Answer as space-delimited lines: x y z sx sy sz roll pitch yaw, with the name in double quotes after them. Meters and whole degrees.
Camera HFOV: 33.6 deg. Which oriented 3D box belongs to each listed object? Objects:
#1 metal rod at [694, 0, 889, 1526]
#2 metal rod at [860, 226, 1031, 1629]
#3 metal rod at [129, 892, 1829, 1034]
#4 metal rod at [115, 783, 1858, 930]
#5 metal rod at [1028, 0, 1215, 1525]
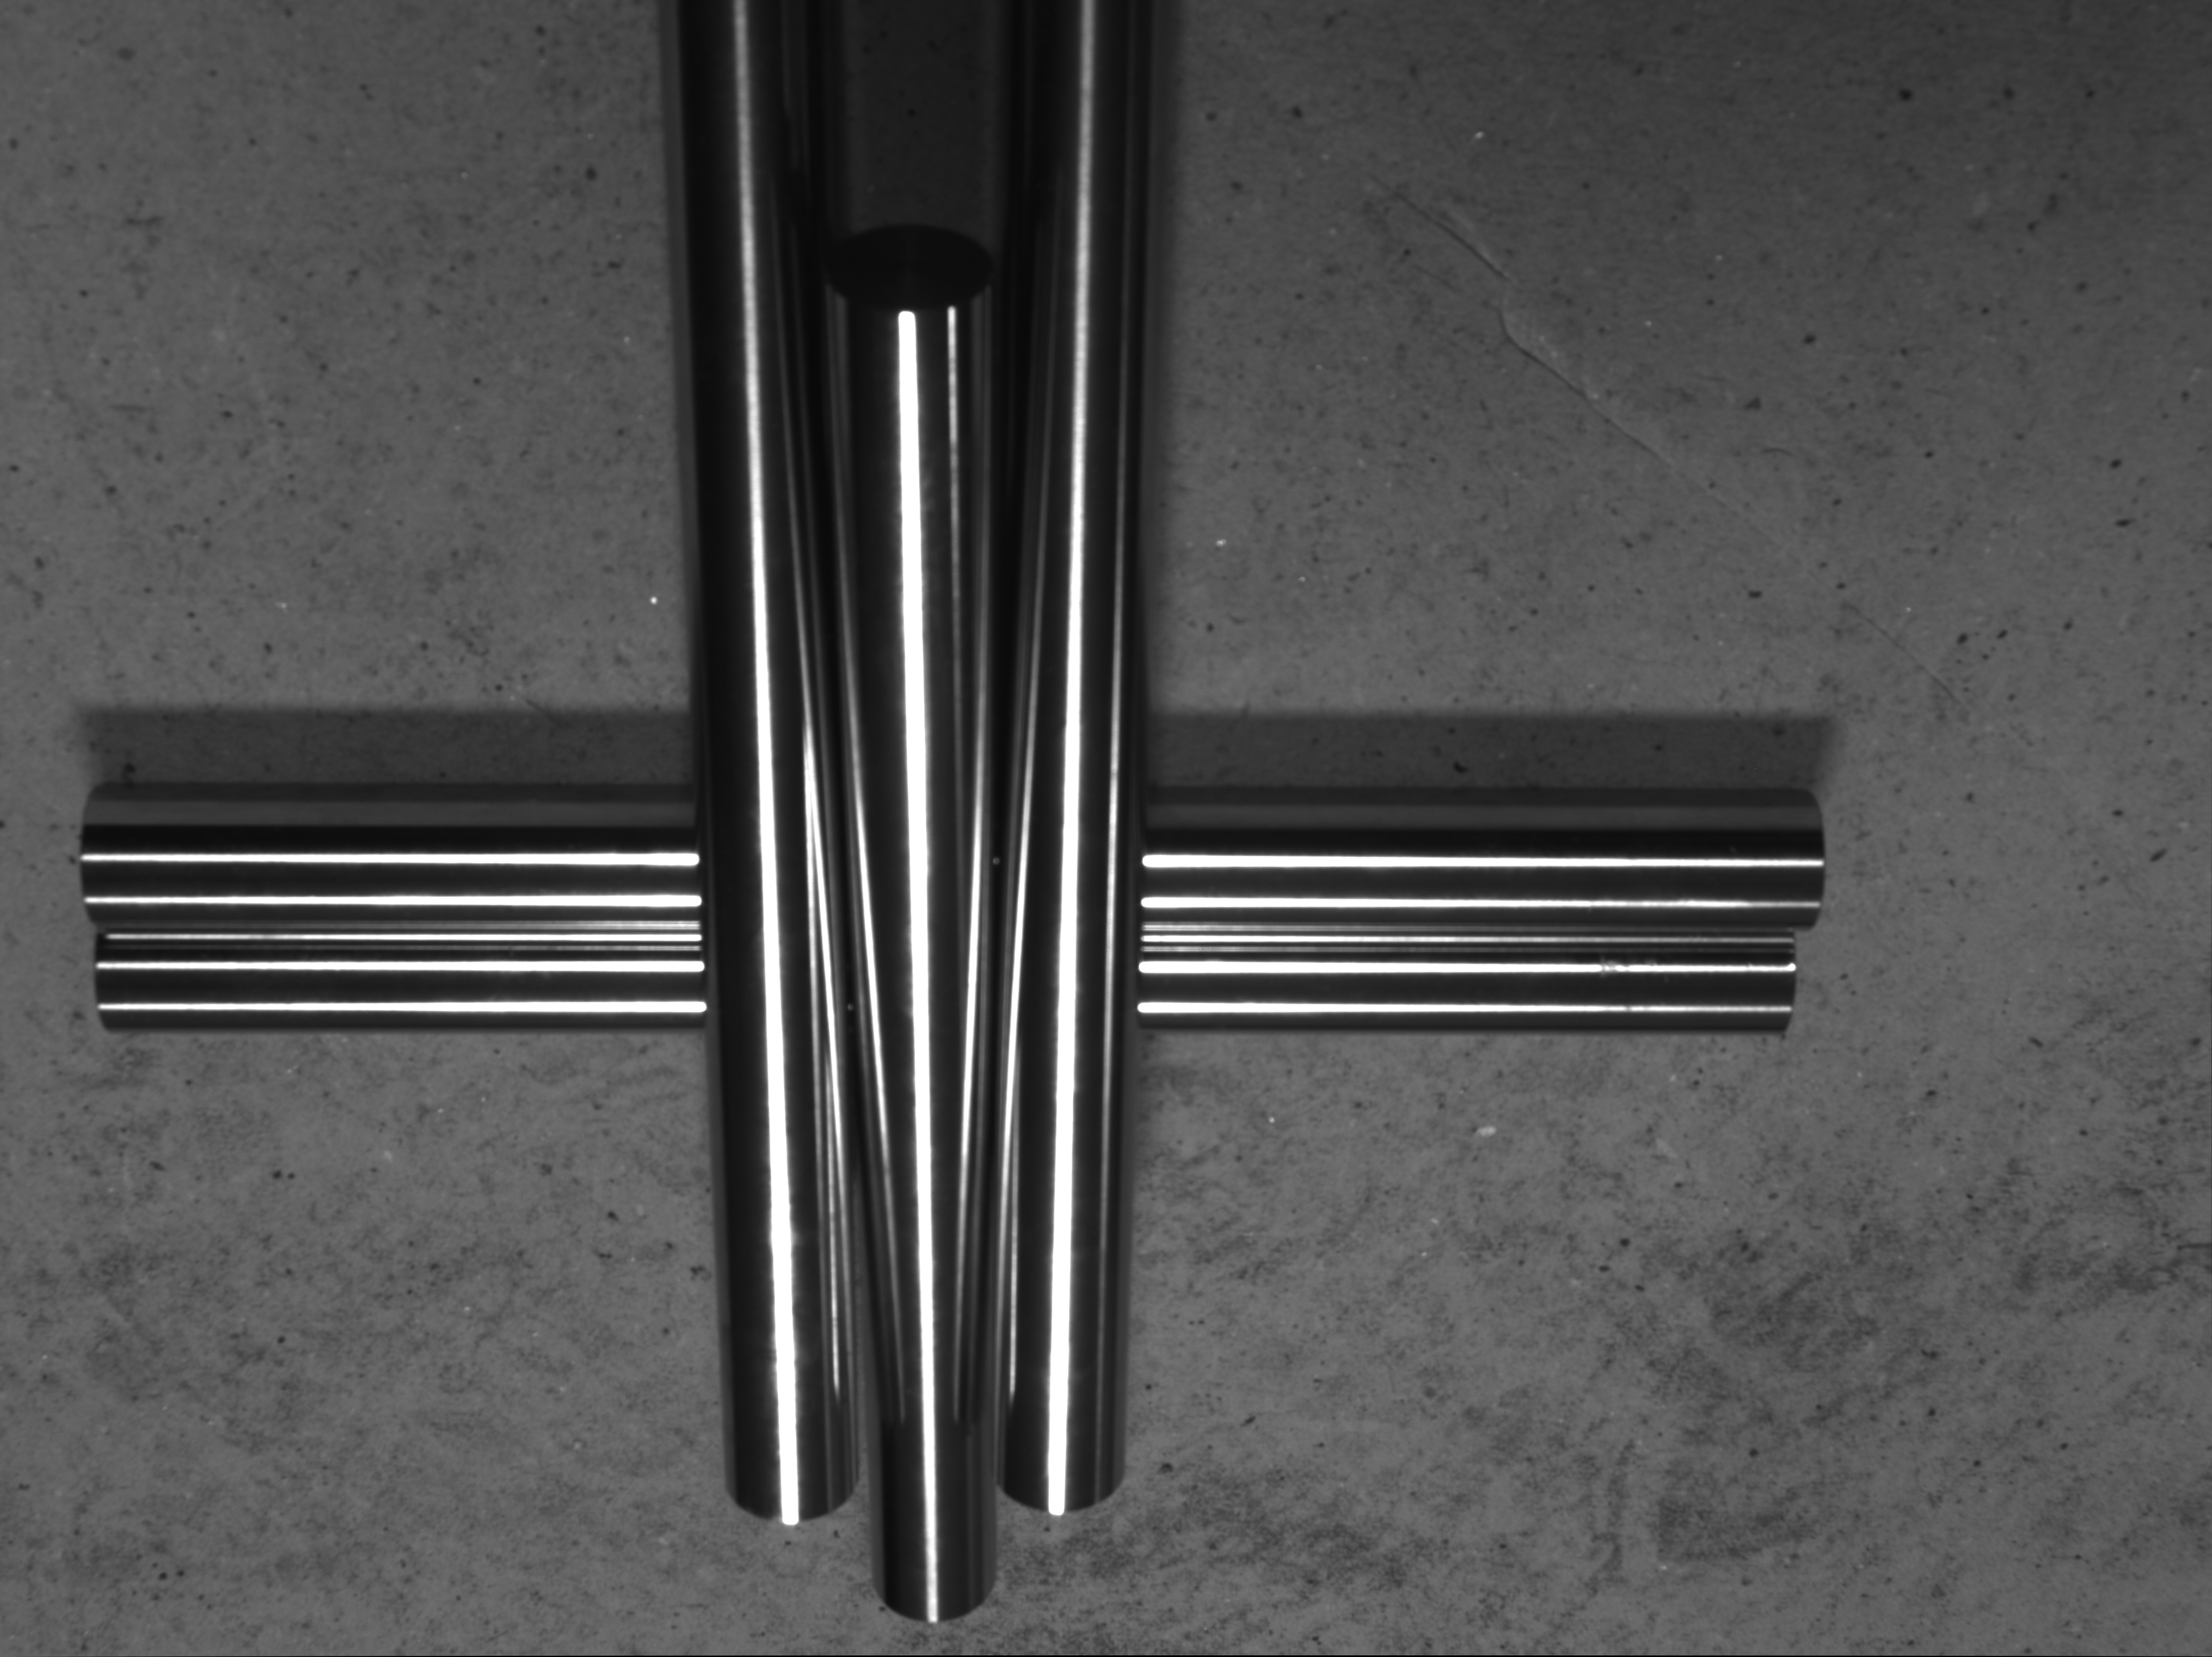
-0.050 -0.006 0.605 0.025 0.025 0.300 0 122 -2 "metal rod"
-0.026 0.034 0.632 0.025 0.025 0.300 0 130 -2 "metal rod"
-0.022 0.024 0.659 0.300 0.025 0.025 0 130 -2 "metal rod"
-0.020 0.005 0.643 0.300 0.025 0.025 0 130 -2 "metal rod"
0.001 -0.006 0.606 0.025 0.025 0.300 0 122 -2 "metal rod"
